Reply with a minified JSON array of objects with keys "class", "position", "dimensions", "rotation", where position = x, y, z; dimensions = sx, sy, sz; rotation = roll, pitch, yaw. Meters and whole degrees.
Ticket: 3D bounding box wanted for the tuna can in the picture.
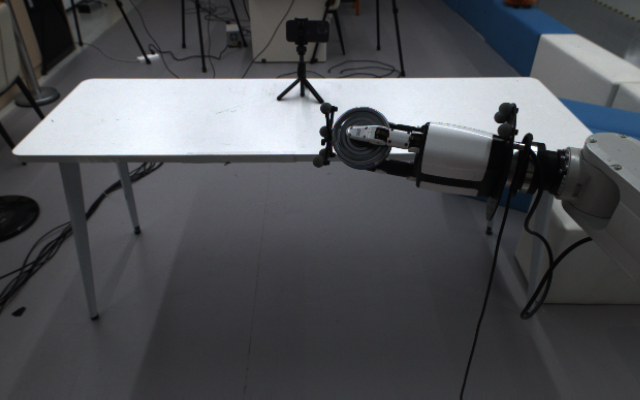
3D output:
[{"class":"tuna can","position":[0.064,-0.086,0.689],"dimensions":[0.085,0.085,0.034],"rotation":[9,-6,10]}]
